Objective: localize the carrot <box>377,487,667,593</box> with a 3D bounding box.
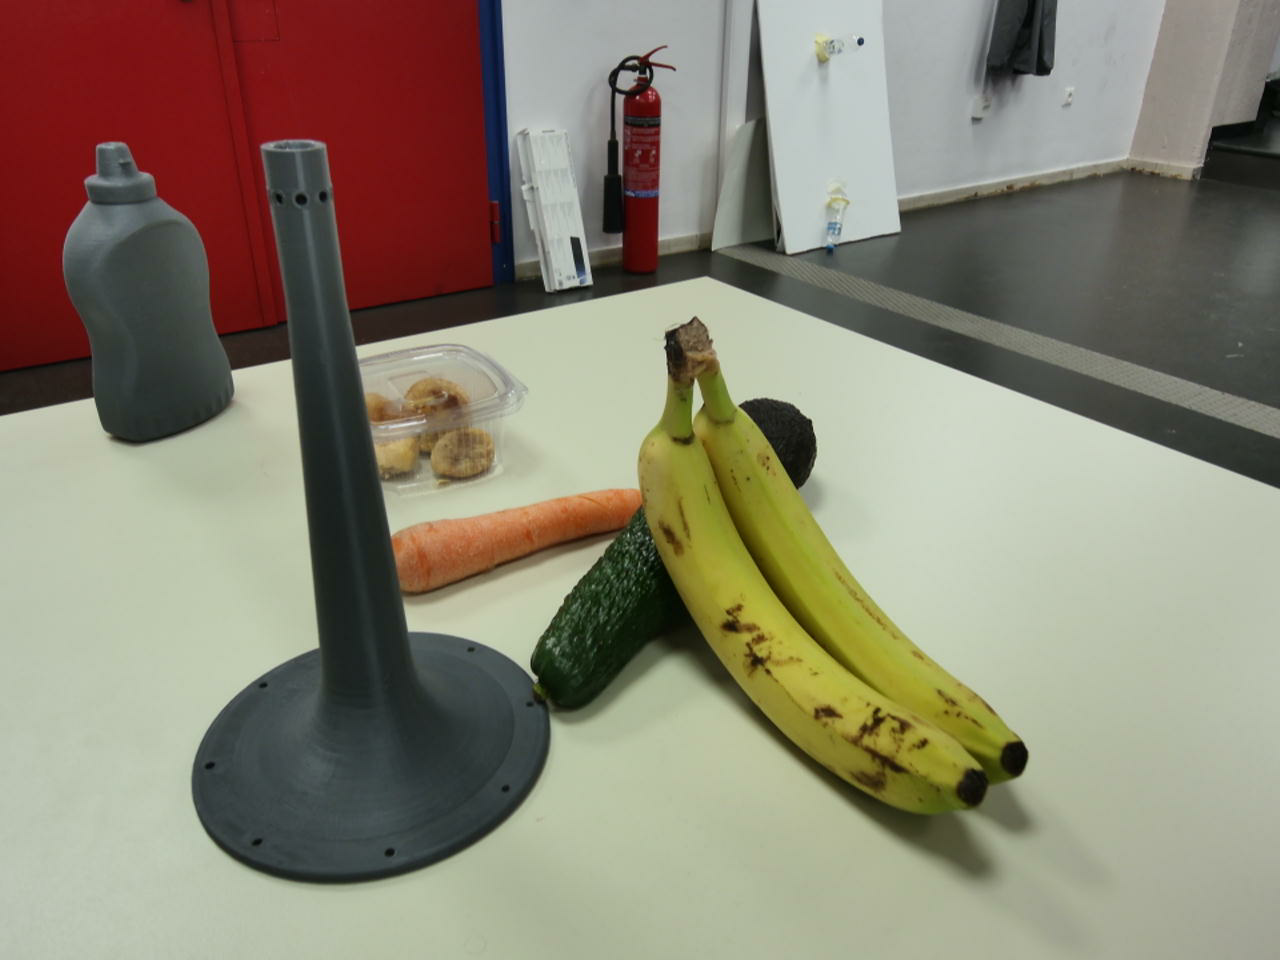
[{"bbox_3d":[-0.064,0.026,0.606,0.196,0.041,0.039,-17,31,-32],"label":"carrot"}]
